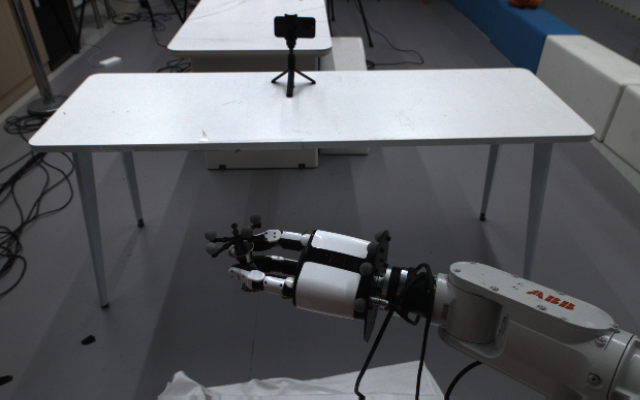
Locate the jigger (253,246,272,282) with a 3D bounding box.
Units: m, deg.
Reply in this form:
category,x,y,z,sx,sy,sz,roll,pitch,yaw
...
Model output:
category,x,y,z,sx,sy,sz,roll,pitch,yaw
jigger,-0.106,0.099,0.724,0.043,0.071,0.043,-12,29,7
